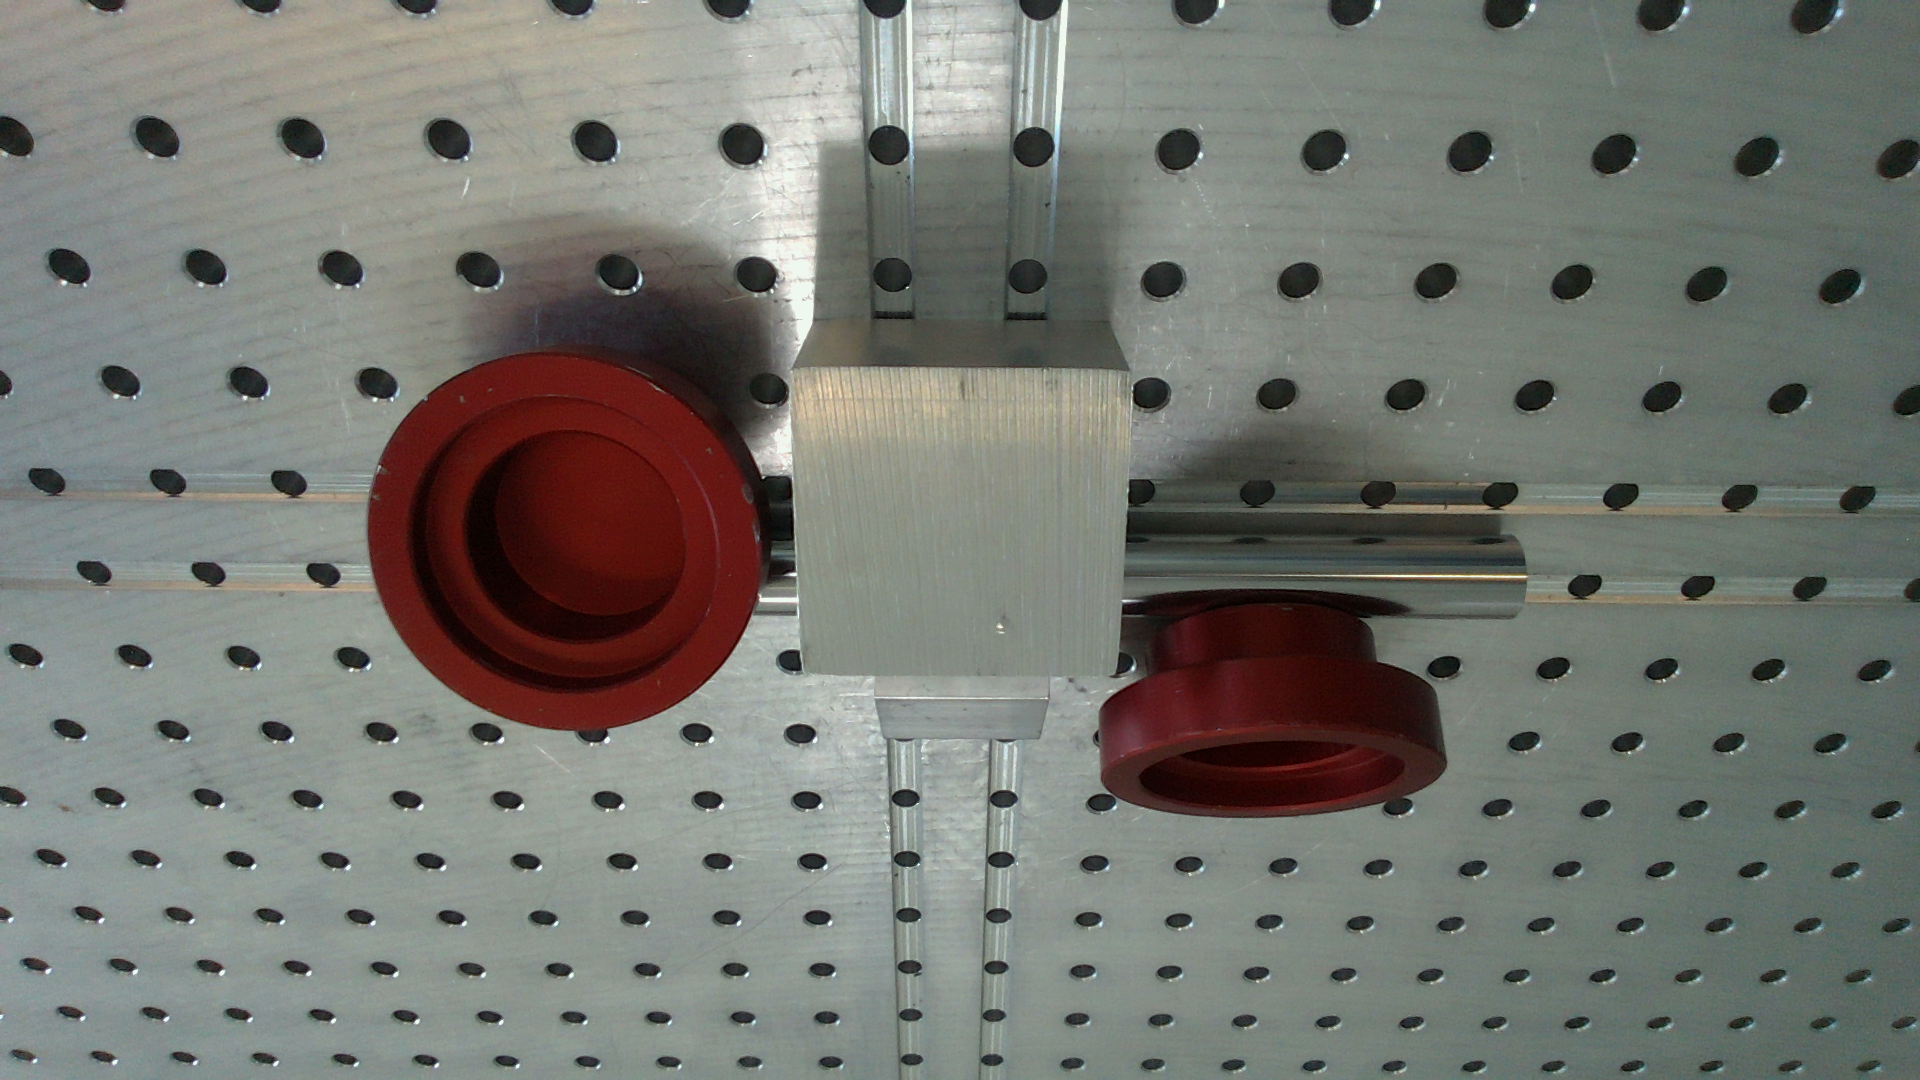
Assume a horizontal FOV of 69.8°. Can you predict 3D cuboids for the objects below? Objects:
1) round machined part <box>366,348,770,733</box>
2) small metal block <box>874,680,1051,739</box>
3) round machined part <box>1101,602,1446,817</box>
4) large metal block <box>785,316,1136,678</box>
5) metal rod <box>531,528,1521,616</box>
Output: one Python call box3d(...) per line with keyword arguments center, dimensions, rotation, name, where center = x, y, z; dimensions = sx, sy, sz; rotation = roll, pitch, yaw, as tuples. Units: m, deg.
box3d(center=(-0.099, -0.003, 0.363), dimensions=(0.098, 0.042, 0.098), rotation=(0, 104, 0), name="round machined part")
box3d(center=(0.001, 0.042, 0.416), dimensions=(0.050, 0.025, 0.050), rotation=(0, 159, 0), name="small metal block")
box3d(center=(0.091, 0.050, 0.409), dimensions=(0.098, 0.042, 0.098), rotation=(0, 155, 0), name="round machined part")
box3d(center=(0.000, -0.012, 0.352), dimensions=(0.080, 0.050, 0.080), rotation=(0, 112, -1), name="large metal block")
box3d(center=(0.010, 0.009, 0.402), dimensions=(0.300, 0.025, 0.025), rotation=(0, 130, -1), name="metal rod")
